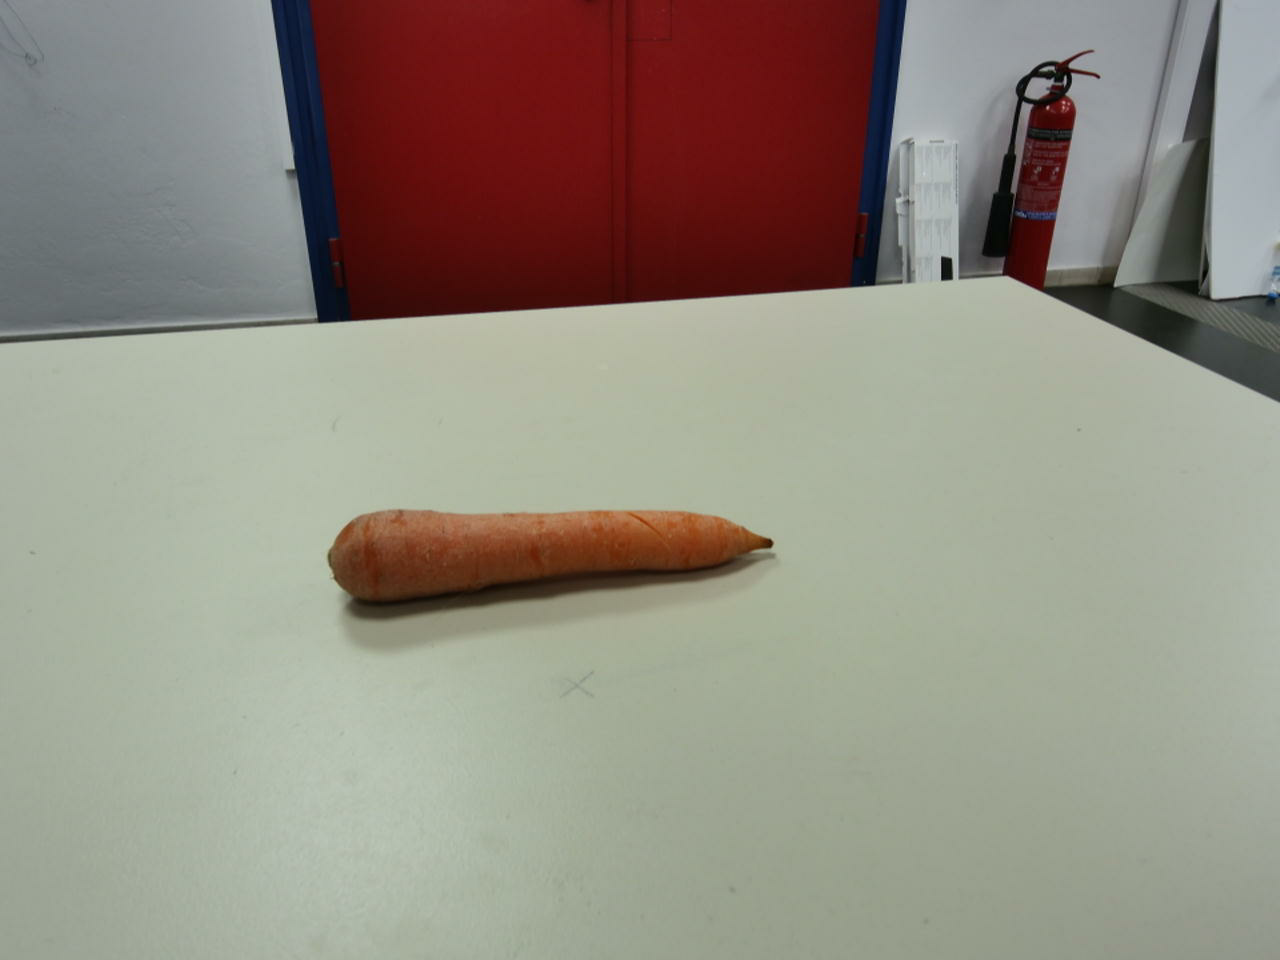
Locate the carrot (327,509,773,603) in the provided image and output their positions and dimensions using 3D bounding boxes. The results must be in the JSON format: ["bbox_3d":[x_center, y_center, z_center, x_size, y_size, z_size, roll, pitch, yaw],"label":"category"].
[{"bbox_3d":[-0.034,0.026,0.438,0.196,0.041,0.039,-6,25,-12],"label":"carrot"}]
